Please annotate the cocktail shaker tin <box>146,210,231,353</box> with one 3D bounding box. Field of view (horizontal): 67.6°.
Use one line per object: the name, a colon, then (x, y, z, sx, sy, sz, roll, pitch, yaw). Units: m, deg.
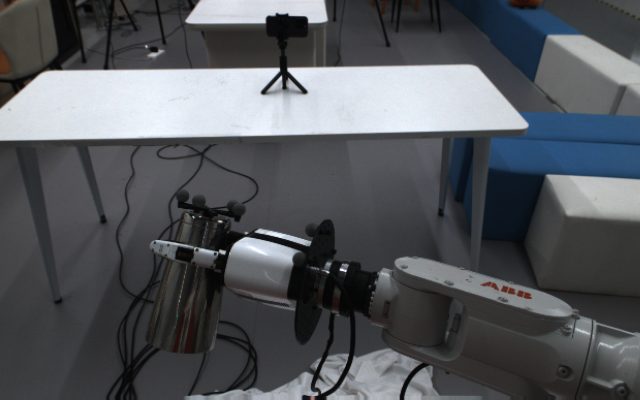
cocktail shaker tin: (-0.165, 0.103, 0.645, 0.093, 0.170, 0.093, 12, 1, 0)
